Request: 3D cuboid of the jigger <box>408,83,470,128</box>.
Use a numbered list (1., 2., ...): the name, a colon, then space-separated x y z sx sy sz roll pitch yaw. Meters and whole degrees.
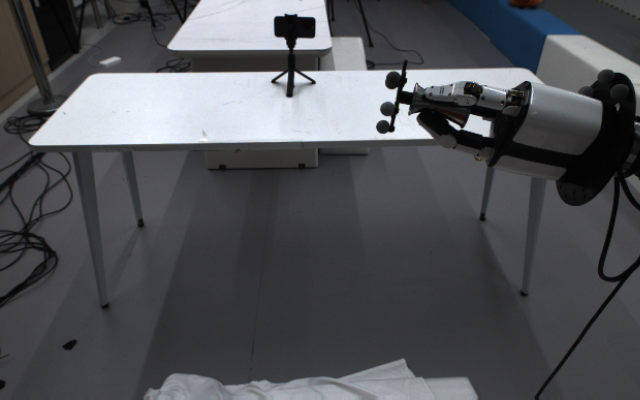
1. jigger: 0.148 -0.121 0.591 0.071 0.043 0.043 12 35 3
